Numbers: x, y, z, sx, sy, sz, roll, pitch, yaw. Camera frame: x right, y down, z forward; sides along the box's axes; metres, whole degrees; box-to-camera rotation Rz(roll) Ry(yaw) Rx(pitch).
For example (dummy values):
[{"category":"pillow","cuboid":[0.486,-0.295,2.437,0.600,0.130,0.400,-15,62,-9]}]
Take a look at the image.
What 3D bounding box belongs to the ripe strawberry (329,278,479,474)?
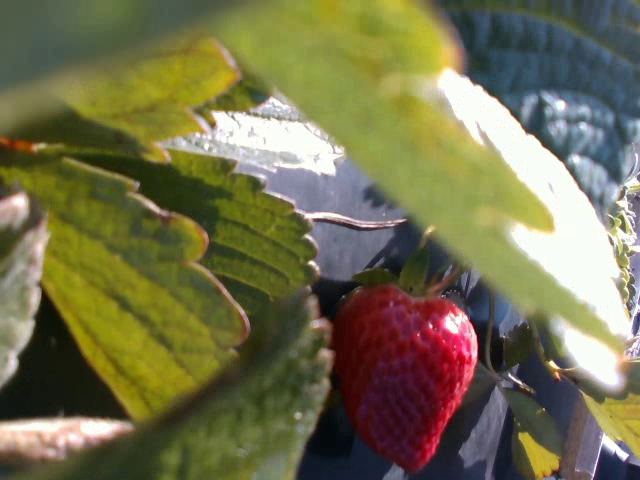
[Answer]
[{"category":"ripe strawberry","cuboid":[0.020,0.032,0.162,0.044,0.056,0.042,6,-18,-4]}]
